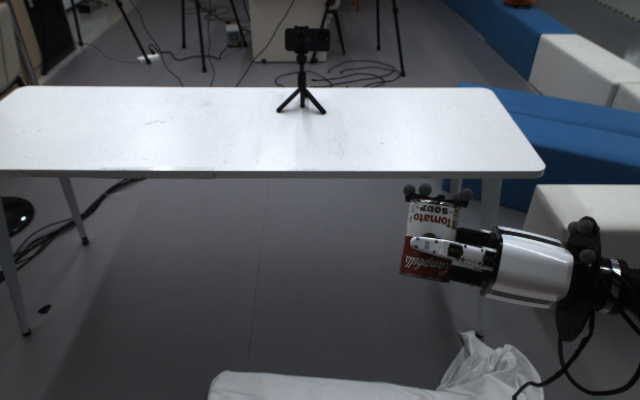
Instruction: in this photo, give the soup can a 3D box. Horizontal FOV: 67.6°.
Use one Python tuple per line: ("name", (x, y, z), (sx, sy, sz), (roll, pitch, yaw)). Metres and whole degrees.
("soup can", (0.148, 0.052, 0.650), (0.067, 0.101, 0.067), (9, -5, 1))
